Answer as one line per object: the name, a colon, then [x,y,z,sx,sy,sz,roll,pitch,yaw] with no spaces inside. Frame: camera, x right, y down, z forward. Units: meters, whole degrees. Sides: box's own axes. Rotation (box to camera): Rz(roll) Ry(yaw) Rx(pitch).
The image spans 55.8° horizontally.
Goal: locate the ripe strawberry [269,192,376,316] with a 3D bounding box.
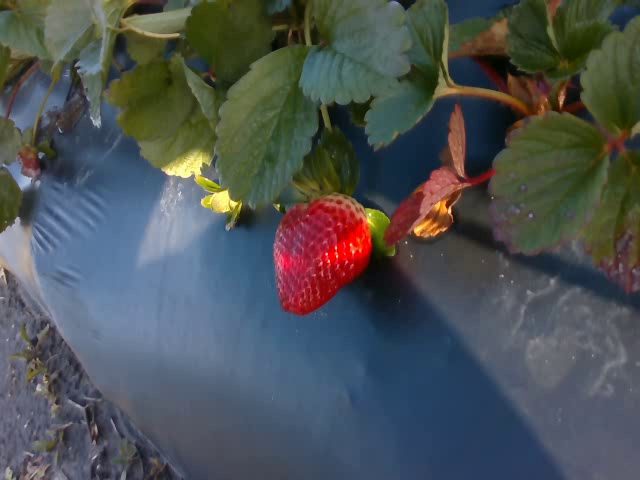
ripe strawberry: [-0.003,0.006,0.217,0.040,0.056,0.041,28,-35,-9]
